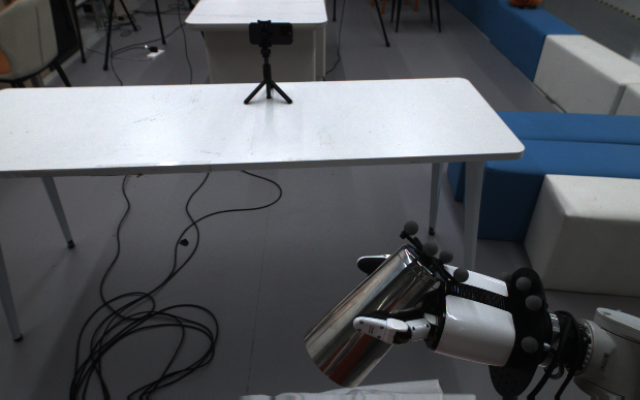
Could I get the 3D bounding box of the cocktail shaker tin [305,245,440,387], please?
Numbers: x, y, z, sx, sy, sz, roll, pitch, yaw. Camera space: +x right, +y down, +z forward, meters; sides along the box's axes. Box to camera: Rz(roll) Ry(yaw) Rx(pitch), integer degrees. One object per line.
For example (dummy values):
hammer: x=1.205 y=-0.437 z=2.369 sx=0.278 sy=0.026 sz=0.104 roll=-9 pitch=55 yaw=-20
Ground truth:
cocktail shaker tin: x=0.069 y=0.133 z=0.596 sx=0.093 sy=0.170 sz=0.093 roll=41 pitch=12 yaw=-11
